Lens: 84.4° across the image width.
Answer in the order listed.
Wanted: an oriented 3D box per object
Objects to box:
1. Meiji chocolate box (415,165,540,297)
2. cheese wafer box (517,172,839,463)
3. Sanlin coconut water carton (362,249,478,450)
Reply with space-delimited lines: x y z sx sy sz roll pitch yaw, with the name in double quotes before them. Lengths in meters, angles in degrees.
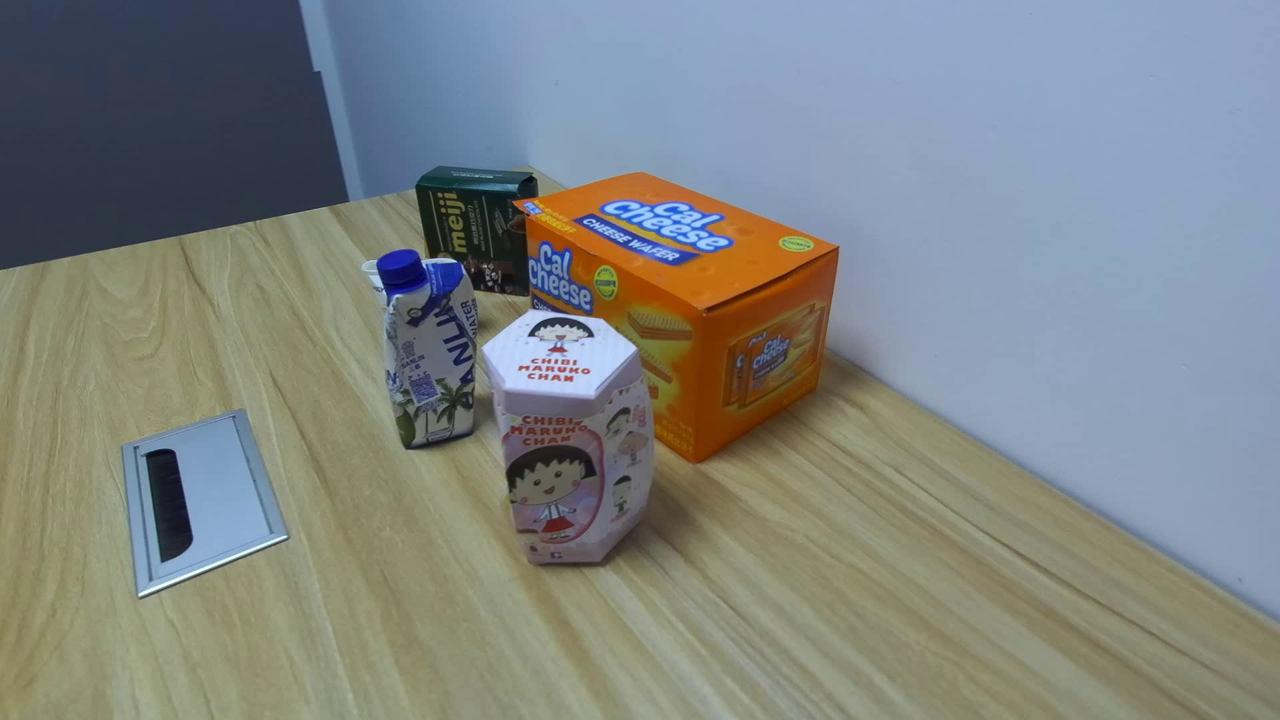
"Meiji chocolate box" -0.157 -0.131 0.705 0.122 0.116 0.058 10 35 12
"cheese wafer box" 0.020 -0.051 0.566 0.150 0.137 0.226 -26 42 -33
"Sanlin coconut water carton" -0.146 -0.008 0.501 0.069 0.144 0.056 -5 40 -22
